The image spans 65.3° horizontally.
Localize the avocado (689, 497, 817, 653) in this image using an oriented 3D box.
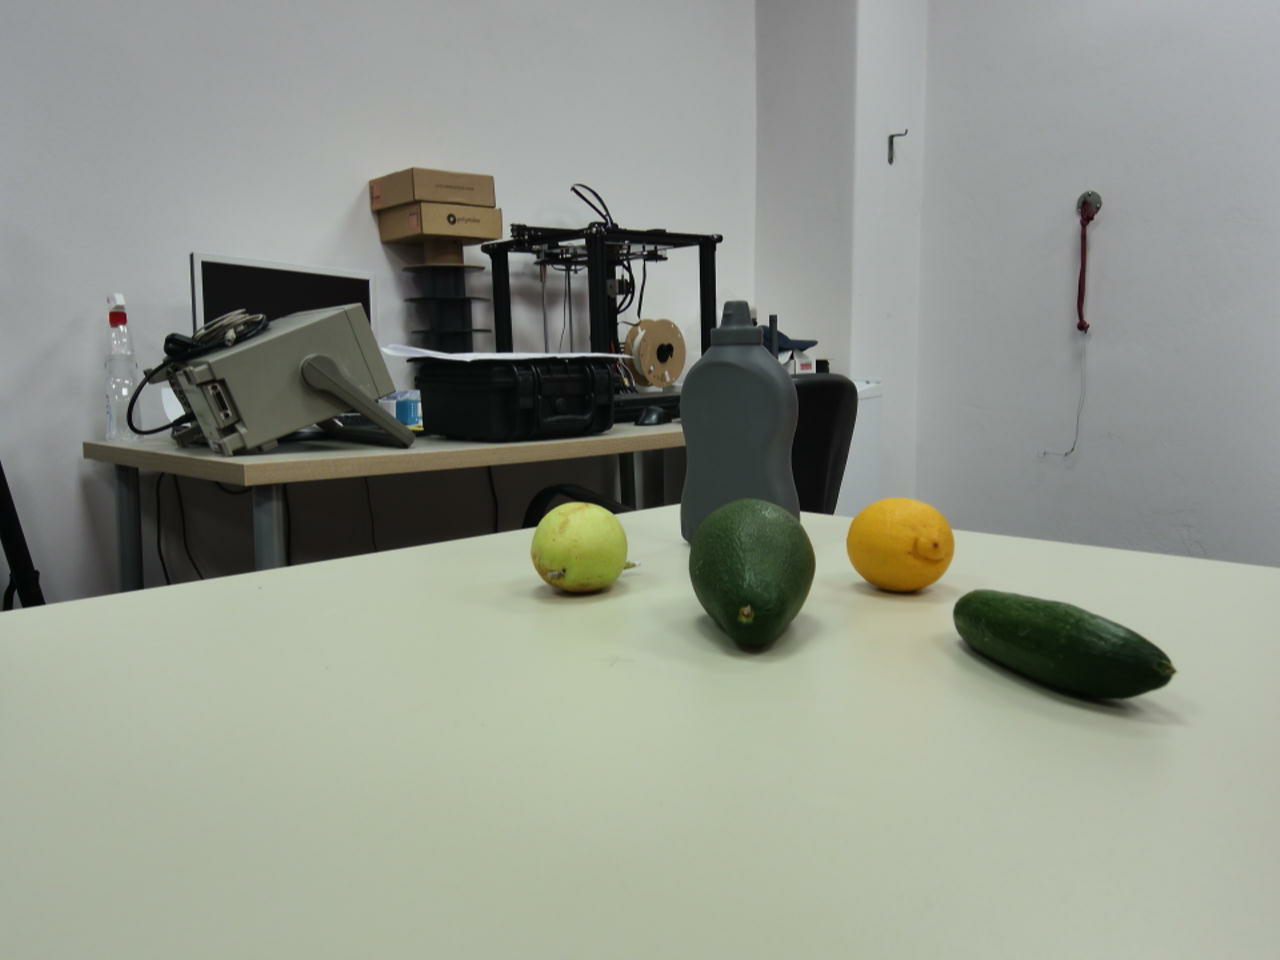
[{"bbox_3d":[0.057,0.048,0.549,0.073,0.071,0.109,3,6,25],"label":"avocado"}]
